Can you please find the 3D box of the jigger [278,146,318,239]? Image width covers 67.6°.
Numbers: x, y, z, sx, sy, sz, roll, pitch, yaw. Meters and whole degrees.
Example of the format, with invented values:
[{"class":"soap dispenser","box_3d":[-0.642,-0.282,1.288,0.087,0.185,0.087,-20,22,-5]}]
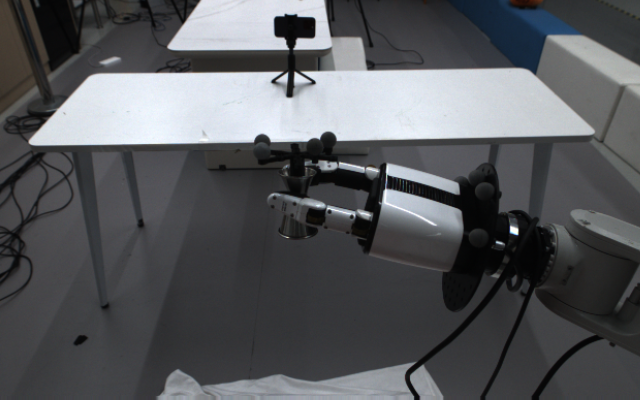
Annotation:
[{"class":"jigger","box_3d":[-0.024,0.002,0.514,0.043,0.071,0.043,0,21,0]}]
